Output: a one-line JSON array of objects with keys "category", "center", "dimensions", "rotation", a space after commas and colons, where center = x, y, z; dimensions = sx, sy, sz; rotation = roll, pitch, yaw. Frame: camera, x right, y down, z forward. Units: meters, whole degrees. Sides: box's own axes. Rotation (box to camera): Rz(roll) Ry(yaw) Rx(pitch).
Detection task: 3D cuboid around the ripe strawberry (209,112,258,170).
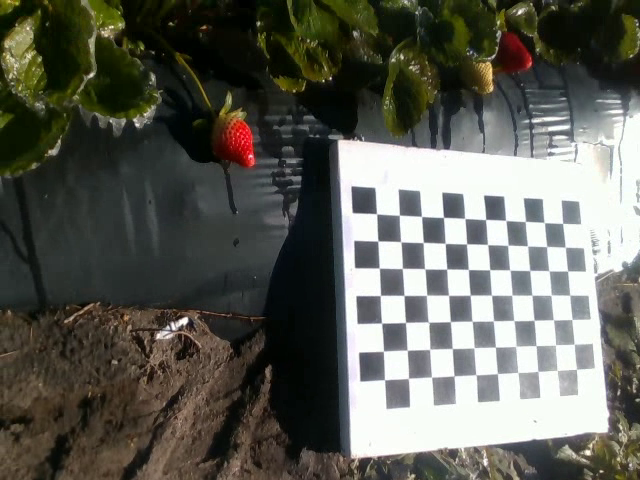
[{"category": "ripe strawberry", "center": [-0.066, -0.078, 0.551], "dimensions": [0.039, 0.053, 0.041], "rotation": [-23, -15, -26]}]
